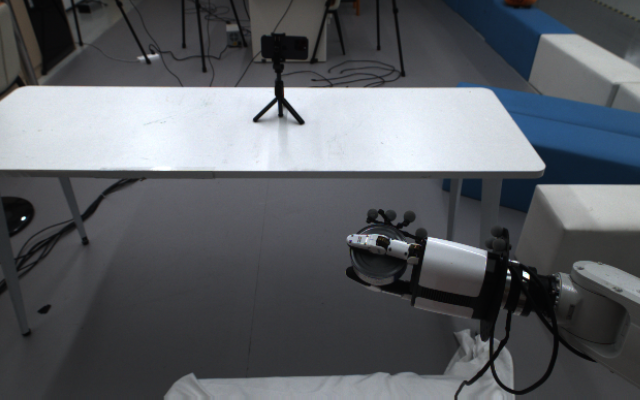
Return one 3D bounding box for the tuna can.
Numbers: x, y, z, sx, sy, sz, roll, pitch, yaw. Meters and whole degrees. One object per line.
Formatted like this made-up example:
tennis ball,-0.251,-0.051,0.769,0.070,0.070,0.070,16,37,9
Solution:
tuna can,0.089,0.078,0.704,0.085,0.034,0.085,-4,56,6
